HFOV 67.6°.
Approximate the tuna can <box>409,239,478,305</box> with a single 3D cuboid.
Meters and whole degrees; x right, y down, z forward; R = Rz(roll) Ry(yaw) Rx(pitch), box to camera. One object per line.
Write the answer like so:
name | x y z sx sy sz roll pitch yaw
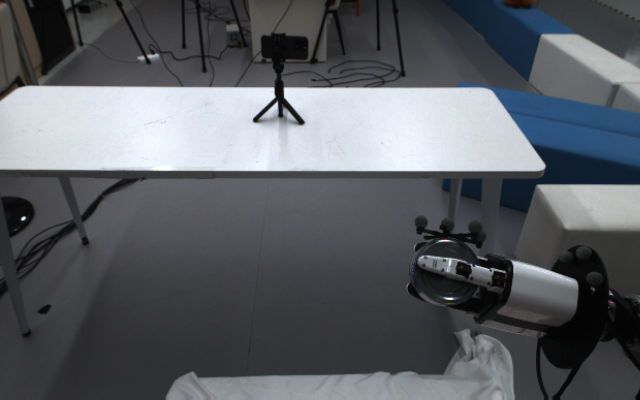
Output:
tuna can | 0.163 0.088 0.625 0.085 0.034 0.085 1 73 -4
